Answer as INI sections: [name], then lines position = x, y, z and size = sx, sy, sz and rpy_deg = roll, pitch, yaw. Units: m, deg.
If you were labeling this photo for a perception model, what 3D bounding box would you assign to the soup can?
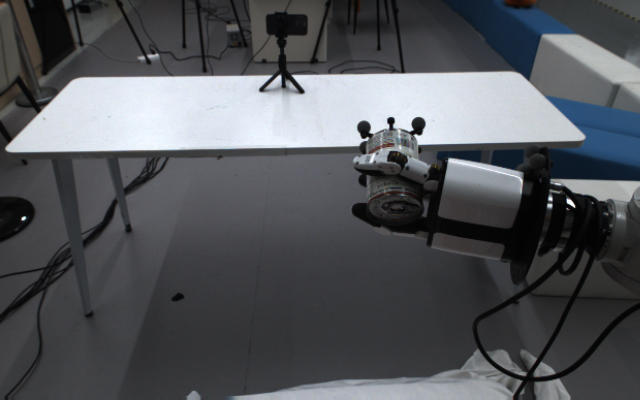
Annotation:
[soup can]
position = 0.091, -0.029, 0.593
size = 0.067, 0.067, 0.101
rpy_deg = 3, 57, 1
